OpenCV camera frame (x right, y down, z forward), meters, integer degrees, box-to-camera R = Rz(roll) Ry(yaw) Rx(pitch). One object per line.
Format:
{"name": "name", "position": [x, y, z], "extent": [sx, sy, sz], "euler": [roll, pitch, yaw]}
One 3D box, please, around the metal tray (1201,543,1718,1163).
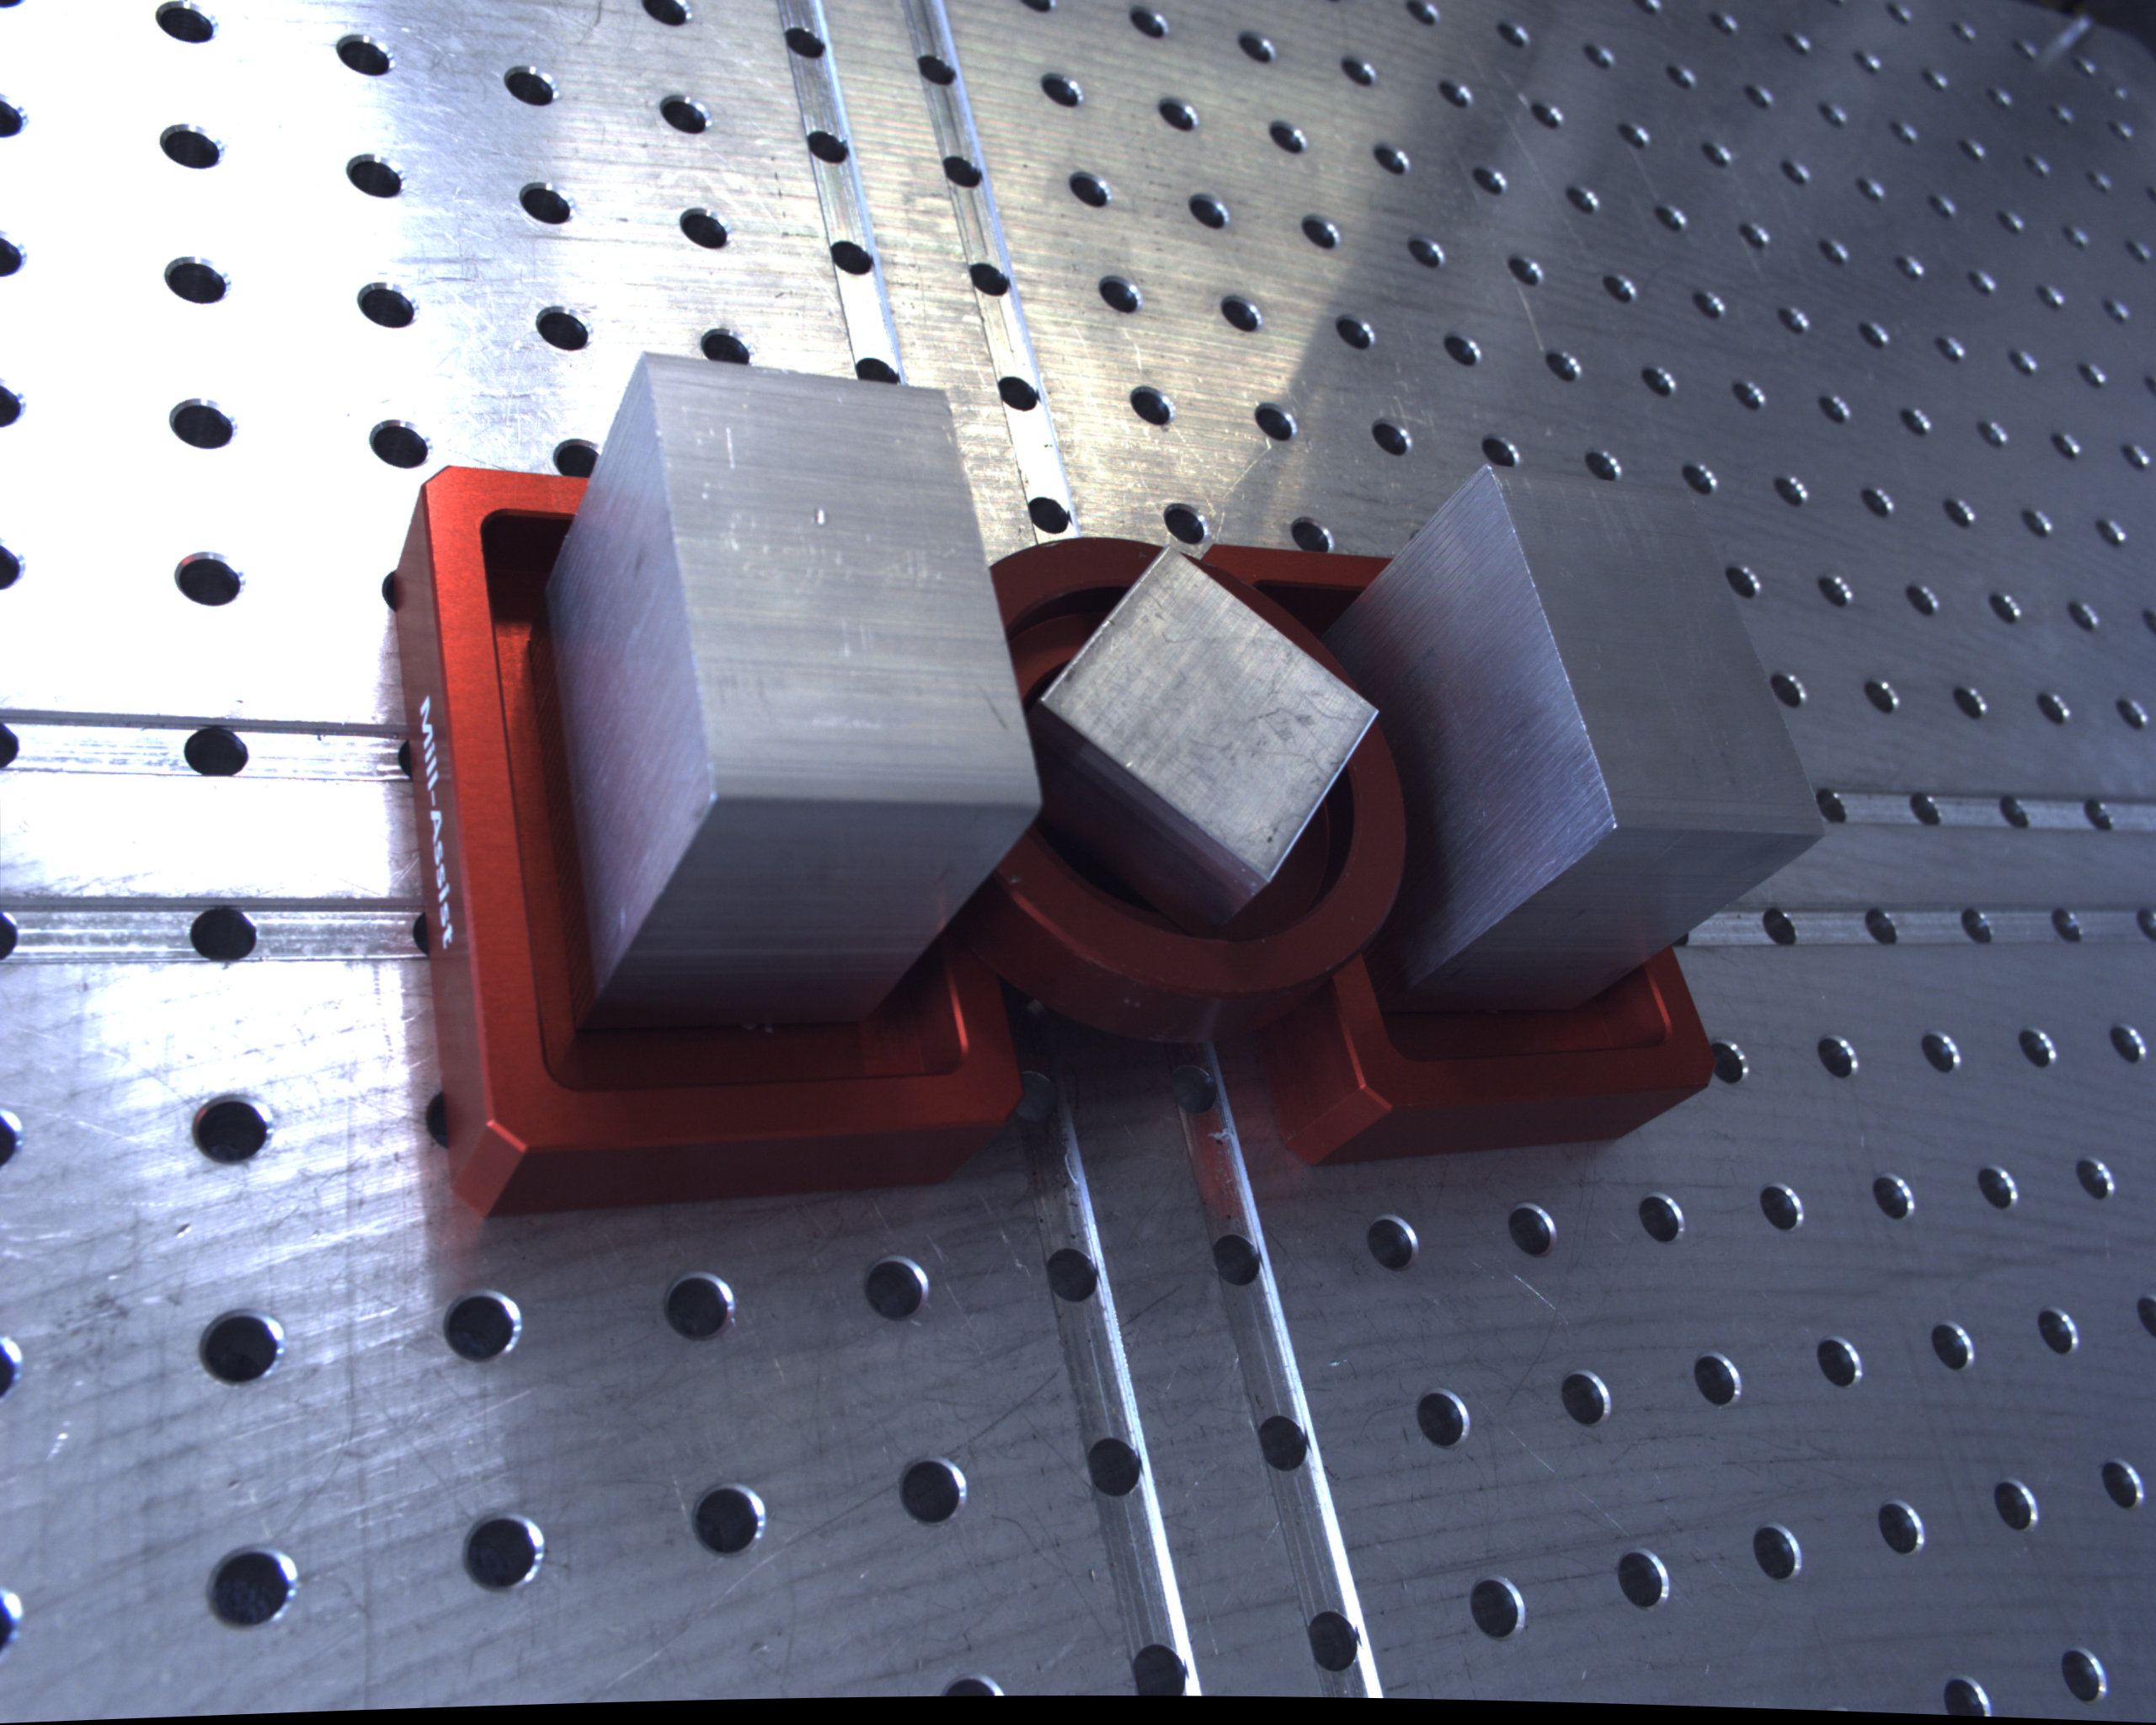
{"name": "metal tray", "position": [0.073, -0.005, 0.445], "extent": [0.091, 0.030, 0.130], "euler": [0, 62, -28]}

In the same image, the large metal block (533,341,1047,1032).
{"name": "large metal block", "position": [-0.052, -0.025, 0.343], "extent": [0.050, 0.080, 0.080], "euler": [1, 62, -28]}

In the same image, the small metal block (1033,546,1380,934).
{"name": "small metal block", "position": [0.019, -0.022, 0.379], "extent": [0.050, 0.025, 0.050], "euler": [38, 51, -3]}

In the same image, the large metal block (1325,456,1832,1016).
{"name": "large metal block", "position": [0.091, -0.022, 0.418], "extent": [0.050, 0.080, 0.080], "euler": [1, 61, -28]}

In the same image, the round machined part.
{"name": "round machined part", "position": [0.009, -0.010, 0.397], "extent": [0.099, 0.042, 0.098], "euler": [14, 56, -21]}

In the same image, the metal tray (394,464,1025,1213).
{"name": "metal tray", "position": [-0.068, -0.007, 0.371], "extent": [0.091, 0.030, 0.130], "euler": [1, 61, -28]}
